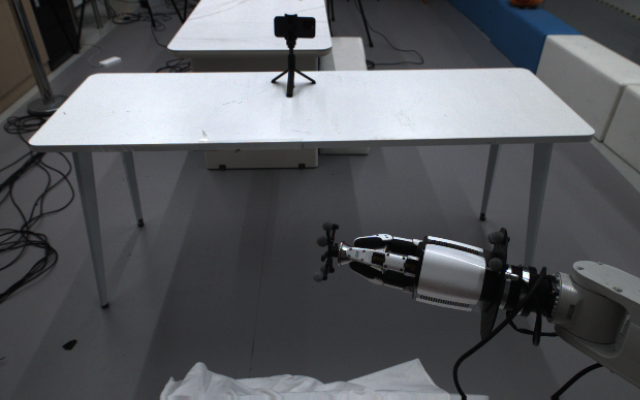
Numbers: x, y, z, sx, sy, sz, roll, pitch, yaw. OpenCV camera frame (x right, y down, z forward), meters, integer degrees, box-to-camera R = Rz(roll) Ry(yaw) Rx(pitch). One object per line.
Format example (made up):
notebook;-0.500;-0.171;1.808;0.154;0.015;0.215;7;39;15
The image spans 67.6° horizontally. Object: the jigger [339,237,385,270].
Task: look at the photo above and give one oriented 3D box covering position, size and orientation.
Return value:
jigger;0.070;0.080;0.721;0.071;0.043;0.043;6;35;14
